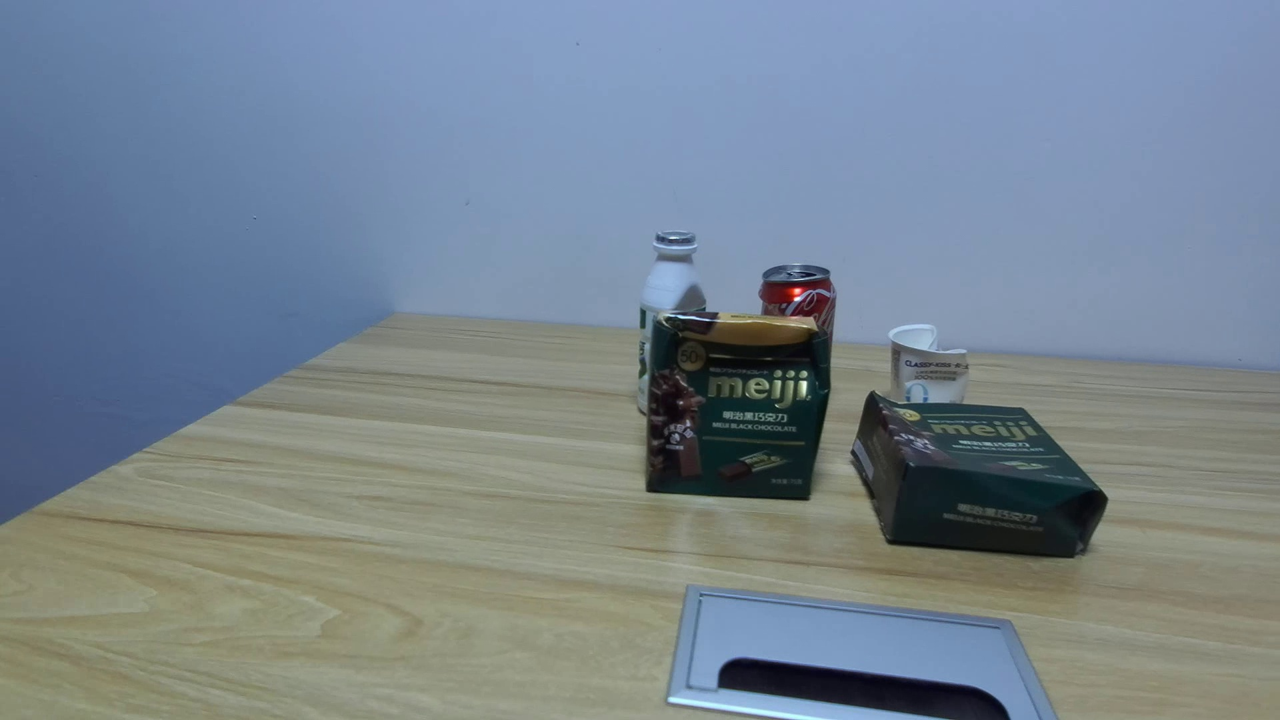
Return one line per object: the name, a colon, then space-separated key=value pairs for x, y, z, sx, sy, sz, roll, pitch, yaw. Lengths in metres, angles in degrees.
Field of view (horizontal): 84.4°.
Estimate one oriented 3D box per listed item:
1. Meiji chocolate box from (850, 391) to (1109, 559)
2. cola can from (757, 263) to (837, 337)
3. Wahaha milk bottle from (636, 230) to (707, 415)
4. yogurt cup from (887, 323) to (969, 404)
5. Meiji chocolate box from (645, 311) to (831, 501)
Meiji chocolate box: x=0.206 y=0.070 z=0.446 sx=0.116 sy=0.058 sz=0.122 roll=6 pitch=20 yaw=4
cola can: x=0.131 y=-0.018 z=0.591 sx=0.065 sy=0.117 sz=0.072 roll=1 pitch=20 yaw=-1
Wahaha milk bottle: x=0.026 y=-0.025 z=0.559 sx=0.056 sy=0.147 sz=0.056 roll=3 pitch=16 yaw=-1
yogurt cup: x=0.232 y=0.015 z=0.574 sx=0.067 sy=0.070 sz=0.067 roll=1 pitch=22 yaw=0
Meiji chocolate box: x=0.062 y=0.027 z=0.466 sx=0.117 sy=0.117 sz=0.051 roll=3 pitch=13 yaw=4
